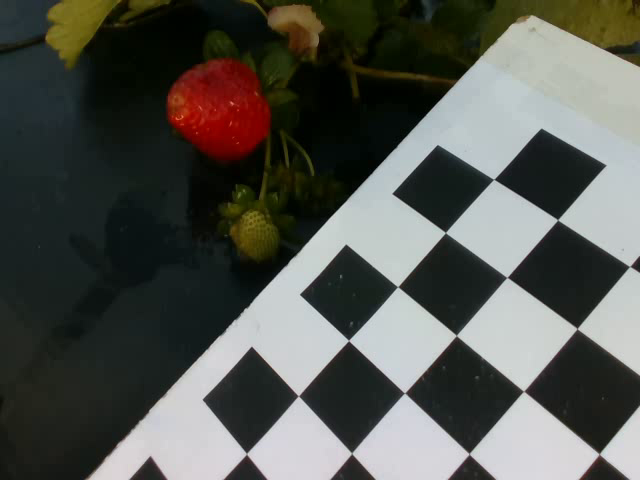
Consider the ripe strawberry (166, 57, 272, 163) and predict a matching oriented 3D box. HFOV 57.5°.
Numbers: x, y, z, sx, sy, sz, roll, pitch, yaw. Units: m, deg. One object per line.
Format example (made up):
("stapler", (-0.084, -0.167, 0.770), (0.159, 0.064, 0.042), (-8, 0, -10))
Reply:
("ripe strawberry", (-0.048, -0.057, 0.258), (0.043, 0.052, 0.057), (11, 10, 27))
